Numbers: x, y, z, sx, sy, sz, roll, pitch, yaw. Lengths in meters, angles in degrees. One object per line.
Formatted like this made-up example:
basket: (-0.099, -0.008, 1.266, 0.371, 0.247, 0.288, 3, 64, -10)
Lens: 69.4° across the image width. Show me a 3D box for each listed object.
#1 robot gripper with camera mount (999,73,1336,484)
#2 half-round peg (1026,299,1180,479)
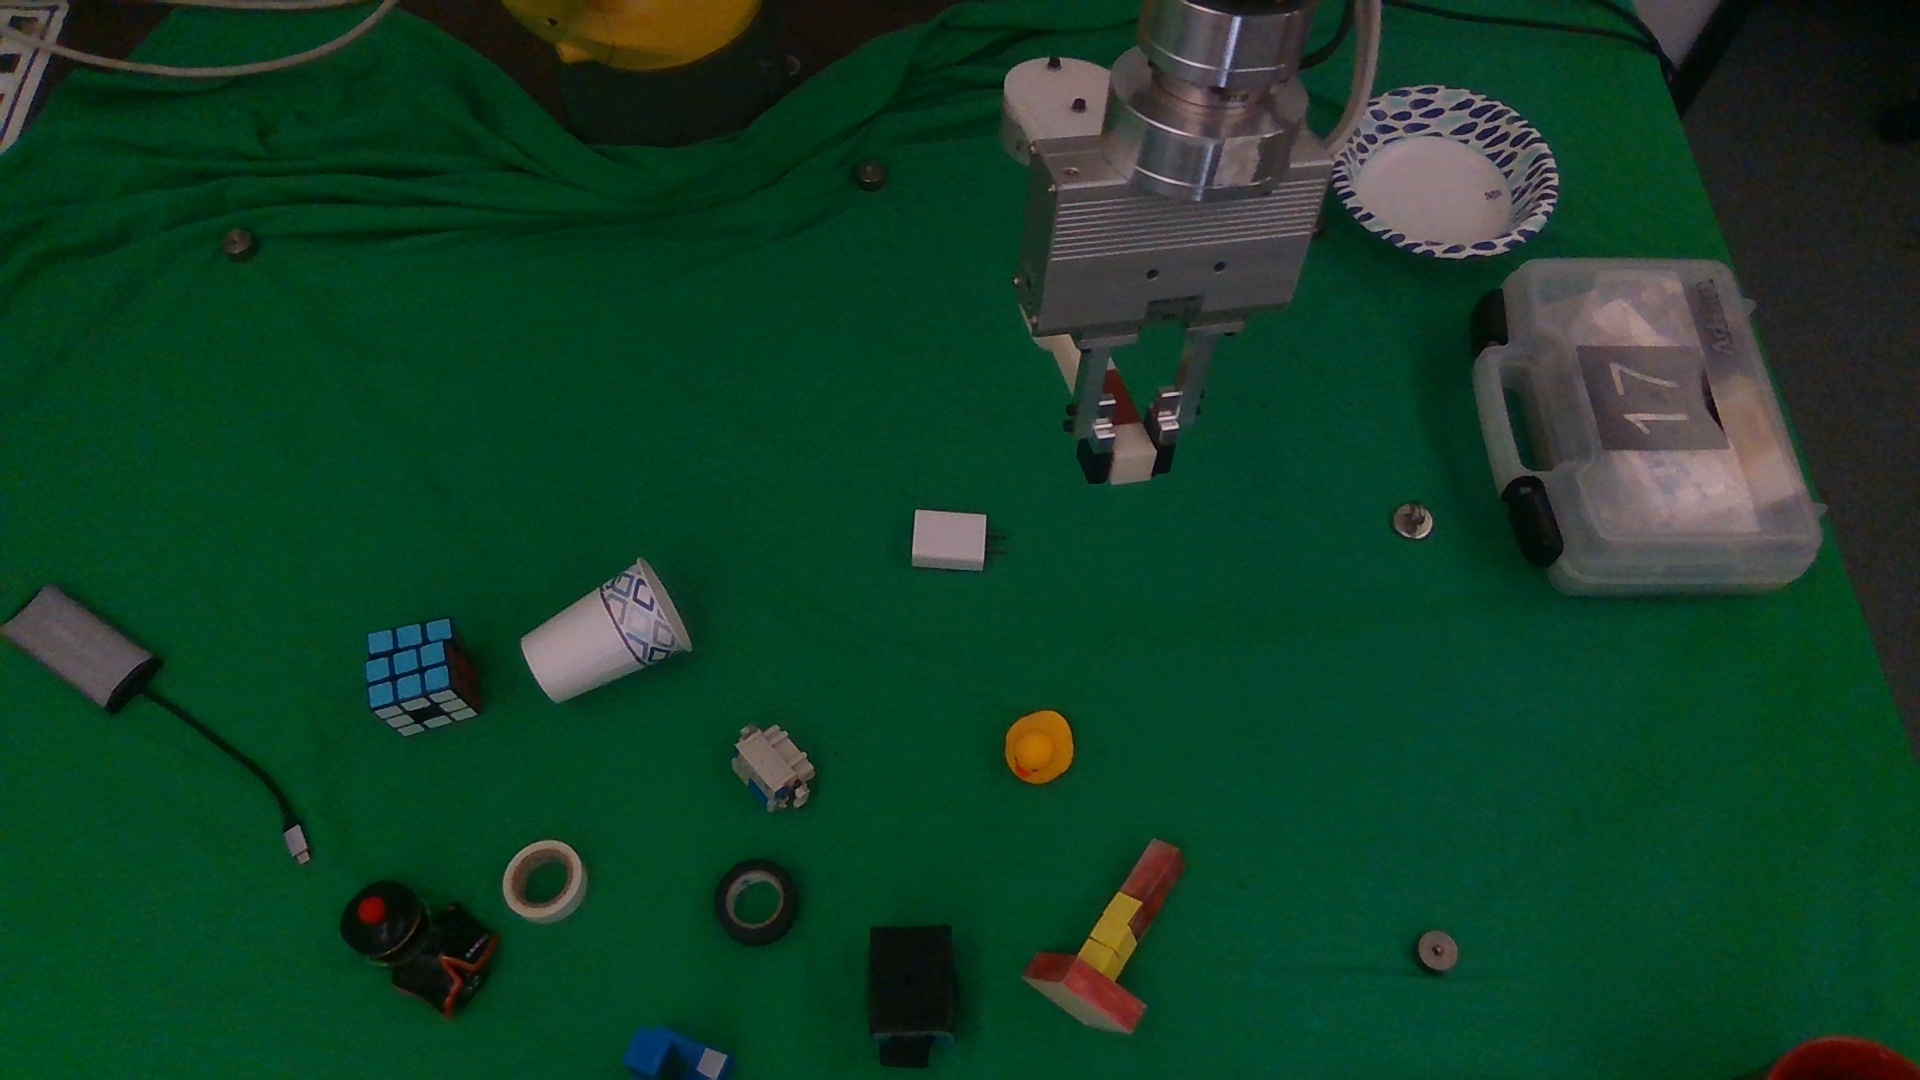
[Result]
robot gripper with camera mount: (0.065, -0.143, 0.667, 0.119, 0.158, 0.194, -12, 46, -13)
half-round peg: (0.076, -0.080, 0.694, 0.054, 0.031, 0.122, -11, 49, -12)
